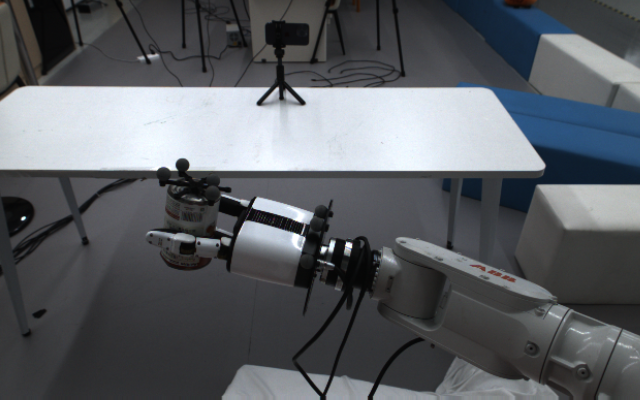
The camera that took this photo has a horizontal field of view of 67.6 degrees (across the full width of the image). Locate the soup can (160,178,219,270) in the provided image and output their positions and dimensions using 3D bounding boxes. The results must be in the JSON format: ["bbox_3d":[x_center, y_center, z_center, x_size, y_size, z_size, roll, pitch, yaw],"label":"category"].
[{"bbox_3d":[-0.168,0.033,0.630,0.067,0.101,0.067,12,25,-6],"label":"soup can"}]
